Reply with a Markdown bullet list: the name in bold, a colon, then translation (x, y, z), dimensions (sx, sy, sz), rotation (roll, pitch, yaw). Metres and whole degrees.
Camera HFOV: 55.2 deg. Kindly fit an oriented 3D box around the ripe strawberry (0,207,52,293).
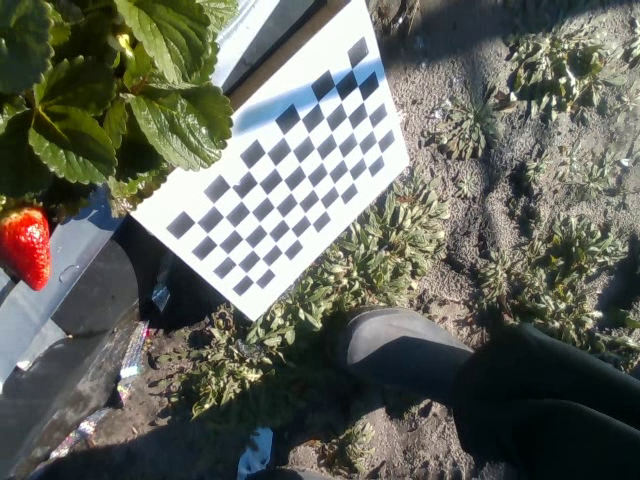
- **ripe strawberry**: translation (-0.243, 0.009, 0.514), dimensions (0.061, 0.065, 0.057), rotation (-27, 8, -36)
